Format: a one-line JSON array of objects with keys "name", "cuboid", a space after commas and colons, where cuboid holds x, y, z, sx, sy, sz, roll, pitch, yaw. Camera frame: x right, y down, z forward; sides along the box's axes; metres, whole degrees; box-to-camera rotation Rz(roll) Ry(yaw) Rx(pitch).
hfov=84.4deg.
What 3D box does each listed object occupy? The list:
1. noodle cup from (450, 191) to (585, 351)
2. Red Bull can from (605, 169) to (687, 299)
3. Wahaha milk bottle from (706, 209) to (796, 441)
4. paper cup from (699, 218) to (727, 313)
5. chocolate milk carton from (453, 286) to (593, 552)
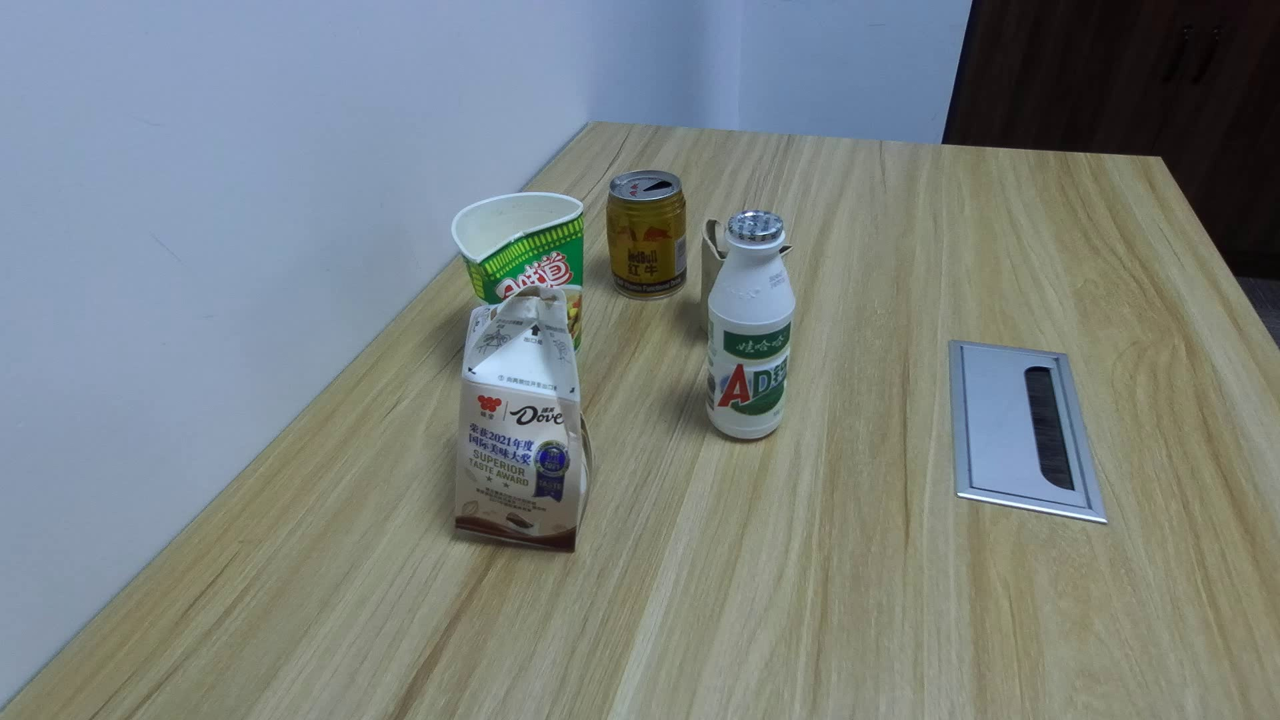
[{"name": "noodle cup", "cuboid": [-0.082, -0.057, 0.530, 0.094, 0.109, 0.086, -17, 40, -15]}, {"name": "Red Bull can", "cuboid": [0.007, -0.105, 0.596, 0.068, 0.093, 0.068, -2, 36, 2]}, {"name": "Wahaha milk bottle", "cuboid": [0.068, -0.018, 0.438, 0.053, 0.147, 0.053, -3, 38, 2]}, {"name": "paper cup", "cuboid": [0.081, -0.075, 0.570, 0.058, 0.083, 0.066, -25, 65, -10]}, {"name": "chocolate milk carton", "cuboid": [-0.065, 0.026, 0.401, 0.077, 0.155, 0.089, 3, 24, 2]}]
